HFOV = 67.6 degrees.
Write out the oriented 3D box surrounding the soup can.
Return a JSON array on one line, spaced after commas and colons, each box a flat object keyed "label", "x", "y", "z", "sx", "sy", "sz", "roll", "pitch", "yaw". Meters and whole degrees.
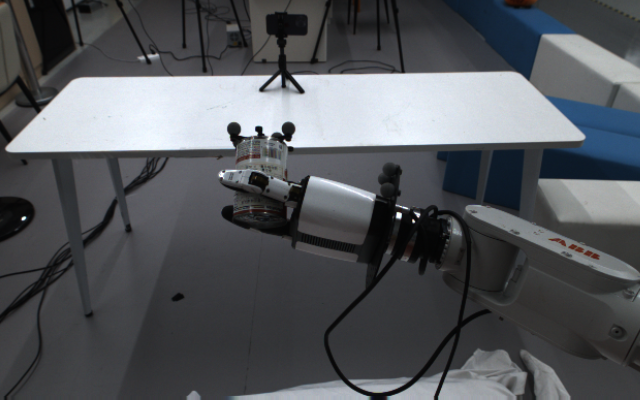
[{"label": "soup can", "x": -0.073, "y": -0.020, "z": 0.607, "sx": 0.067, "sy": 0.067, "sz": 0.101, "roll": 1, "pitch": 72, "yaw": -2}]
